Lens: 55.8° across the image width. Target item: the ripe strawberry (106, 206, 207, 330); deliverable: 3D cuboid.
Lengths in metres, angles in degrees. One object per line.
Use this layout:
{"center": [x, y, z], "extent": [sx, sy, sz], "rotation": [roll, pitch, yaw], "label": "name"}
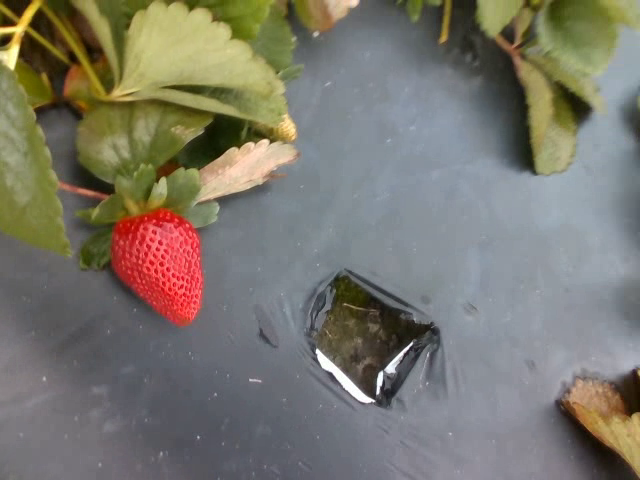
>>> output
{"center": [-0.076, 0.014, 0.282], "extent": [0.046, 0.064, 0.048], "rotation": [-34, -18, 31], "label": "ripe strawberry"}
